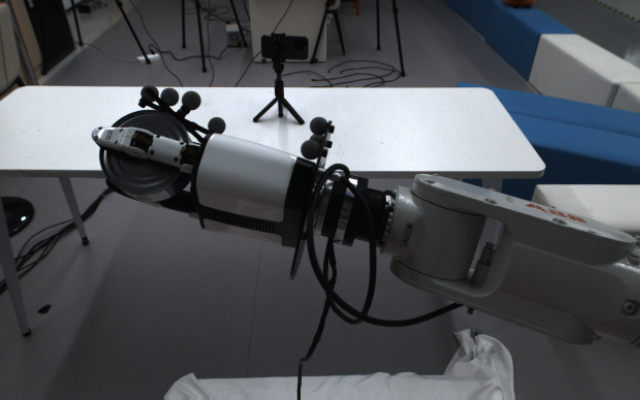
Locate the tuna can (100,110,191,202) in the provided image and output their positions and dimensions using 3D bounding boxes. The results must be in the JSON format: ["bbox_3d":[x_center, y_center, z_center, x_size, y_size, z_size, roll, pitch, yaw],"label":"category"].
[{"bbox_3d":[-0.164,-0.044,0.474,0.085,0.034,0.085,0,72,0],"label":"tuna can"}]
